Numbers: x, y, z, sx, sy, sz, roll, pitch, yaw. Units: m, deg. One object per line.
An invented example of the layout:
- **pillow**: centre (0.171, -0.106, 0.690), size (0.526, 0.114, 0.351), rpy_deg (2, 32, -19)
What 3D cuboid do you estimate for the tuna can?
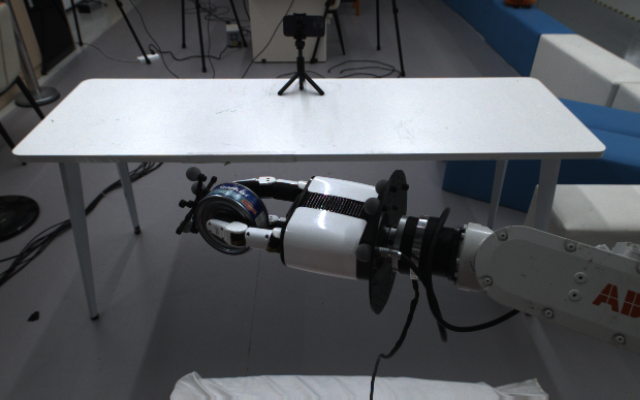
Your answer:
- **tuna can**: centre (-0.104, 0.028, 0.584), size (0.085, 0.085, 0.034), rpy_deg (12, 30, 14)
